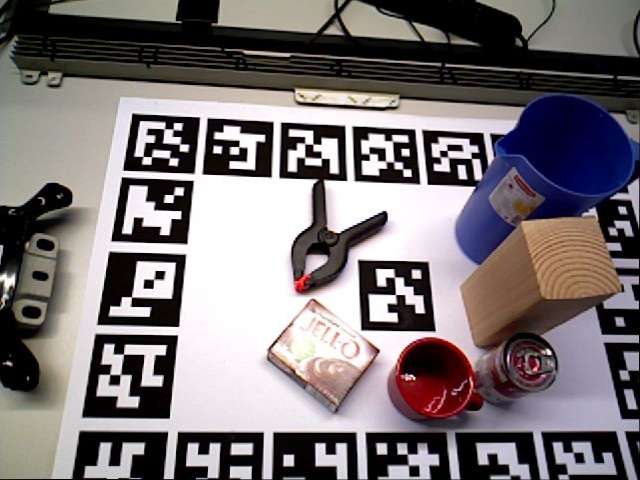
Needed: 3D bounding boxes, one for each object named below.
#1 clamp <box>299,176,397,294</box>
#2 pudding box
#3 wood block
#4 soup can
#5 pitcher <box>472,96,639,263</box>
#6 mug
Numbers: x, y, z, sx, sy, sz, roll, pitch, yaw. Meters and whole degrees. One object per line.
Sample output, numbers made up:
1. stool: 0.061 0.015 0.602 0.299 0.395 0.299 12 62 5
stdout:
1. clamp: 0.022 0.001 0.740 0.121 0.037 0.162 32 67 1
2. pudding box: 0.001 0.143 0.667 0.114 0.039 0.088 37 70 12
3. wood block: 0.260 0.060 0.630 0.089 0.210 0.090 1 64 -10
4. soup can: 0.237 0.163 0.639 0.067 0.104 0.067 2 66 -5
5. pitcher: 0.286 -0.055 0.668 0.188 0.247 0.131 1 62 -3
6. mug: 0.144 0.181 0.635 0.117 0.083 0.091 35 64 12
